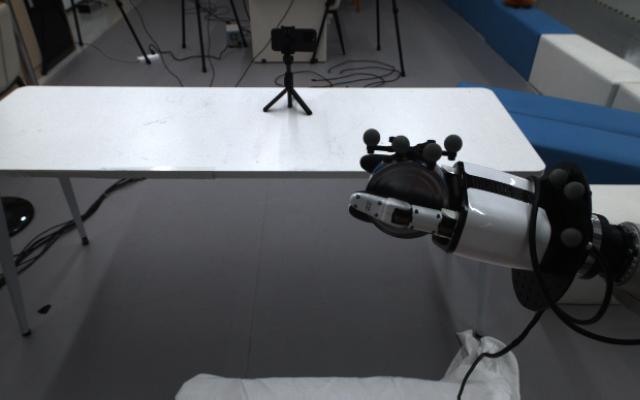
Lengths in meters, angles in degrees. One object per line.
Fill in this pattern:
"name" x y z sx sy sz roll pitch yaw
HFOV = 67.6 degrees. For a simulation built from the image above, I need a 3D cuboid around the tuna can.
"tuna can" 0.092 -0.007 0.506 0.085 0.085 0.034 9 24 10
